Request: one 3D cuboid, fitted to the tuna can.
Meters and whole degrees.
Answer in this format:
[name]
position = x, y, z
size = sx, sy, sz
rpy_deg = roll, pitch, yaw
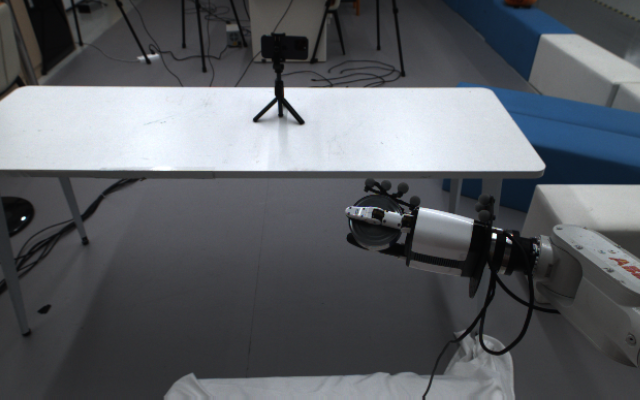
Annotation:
[tuna can]
position = 0.090, 0.033, 0.767
size = 0.085, 0.034, 0.085
rpy_deg = -4, 66, 10
